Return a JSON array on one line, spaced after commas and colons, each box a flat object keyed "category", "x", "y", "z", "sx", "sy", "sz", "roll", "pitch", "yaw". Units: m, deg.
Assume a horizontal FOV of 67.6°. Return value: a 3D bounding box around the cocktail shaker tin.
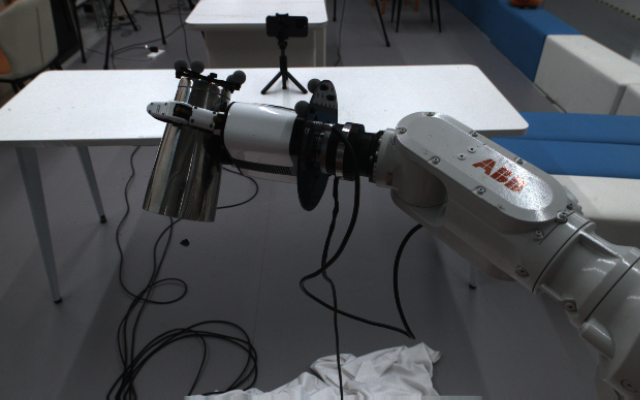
[{"category": "cocktail shaker tin", "x": -0.162, "y": -0.066, "z": 0.624, "sx": 0.093, "sy": 0.170, "sz": 0.093, "roll": 12, "pitch": 2, "yaw": 0}]
